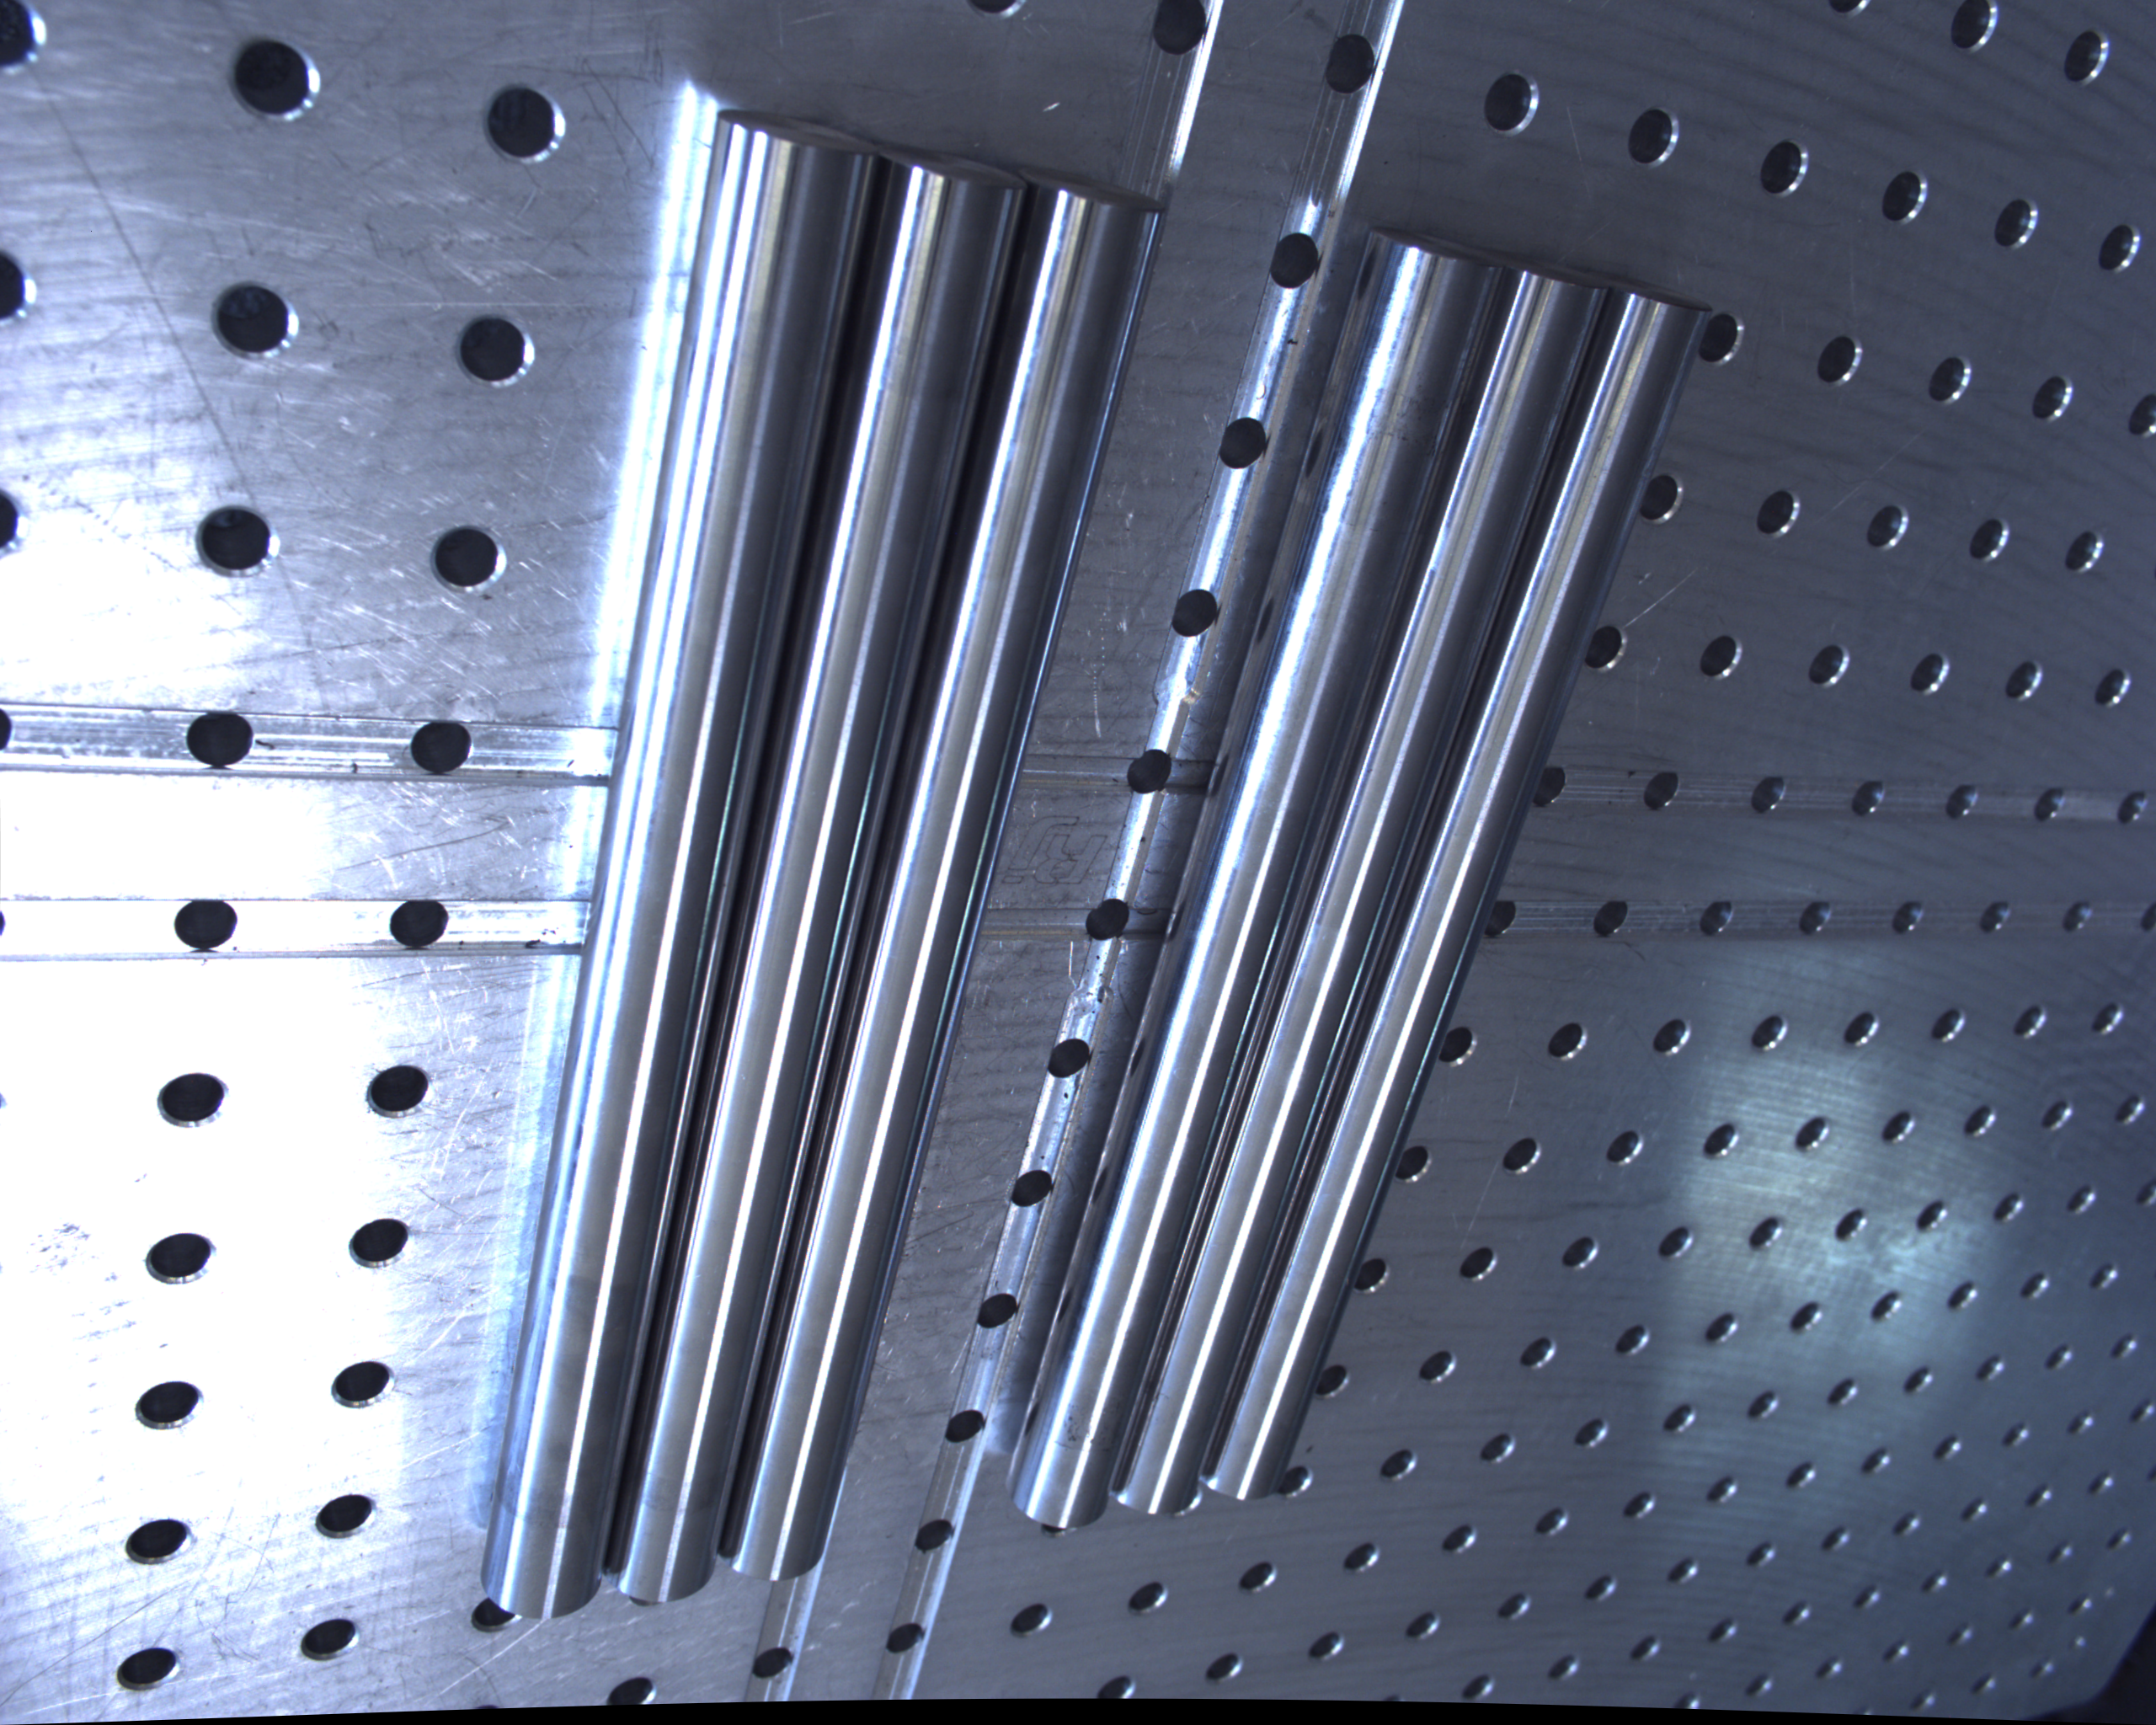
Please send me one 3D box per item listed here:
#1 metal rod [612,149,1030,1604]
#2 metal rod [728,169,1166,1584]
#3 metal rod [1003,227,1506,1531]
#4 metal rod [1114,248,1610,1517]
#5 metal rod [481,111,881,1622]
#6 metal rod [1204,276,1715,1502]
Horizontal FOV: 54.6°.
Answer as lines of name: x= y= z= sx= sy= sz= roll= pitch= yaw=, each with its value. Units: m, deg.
metal rod: x=-0.055 y=0.021 z=0.392 sx=0.025 sy=0.025 sz=0.298 roll=1 pitch=118 yaw=-29
metal rod: x=-0.033 y=0.021 z=0.404 sx=0.025 sy=0.025 sz=0.298 roll=1 pitch=118 yaw=-29
metal rod: x=0.030 y=0.020 z=0.438 sx=0.025 sy=0.025 sz=0.298 roll=1 pitch=118 yaw=-29
metal rod: x=0.052 y=0.020 z=0.450 sx=0.025 sy=0.025 sz=0.298 roll=1 pitch=118 yaw=-29
metal rod: x=-0.078 y=0.020 z=0.380 sx=0.025 sy=0.025 sz=0.298 roll=1 pitch=118 yaw=-29
metal rod: x=0.075 y=0.021 z=0.463 sx=0.025 sy=0.025 sz=0.298 roll=1 pitch=118 yaw=-29
